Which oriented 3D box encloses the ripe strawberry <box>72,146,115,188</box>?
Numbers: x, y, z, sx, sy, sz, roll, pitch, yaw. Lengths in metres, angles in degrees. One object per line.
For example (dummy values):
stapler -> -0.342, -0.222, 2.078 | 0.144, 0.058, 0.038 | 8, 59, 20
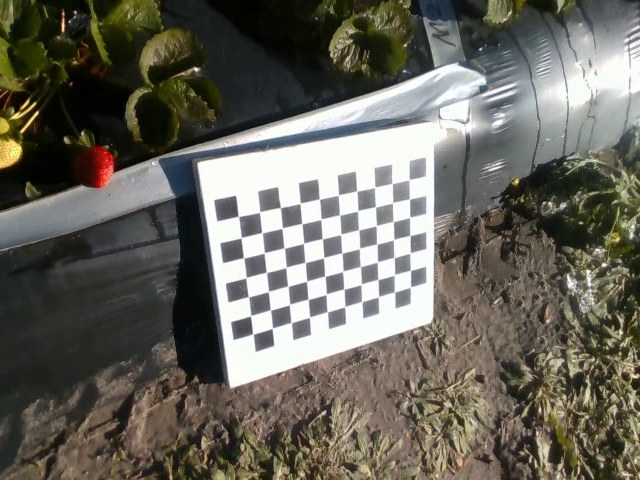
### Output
ripe strawberry -> -0.175, -0.052, 0.448 | 0.036, 0.038, 0.046 | -14, 37, -18
